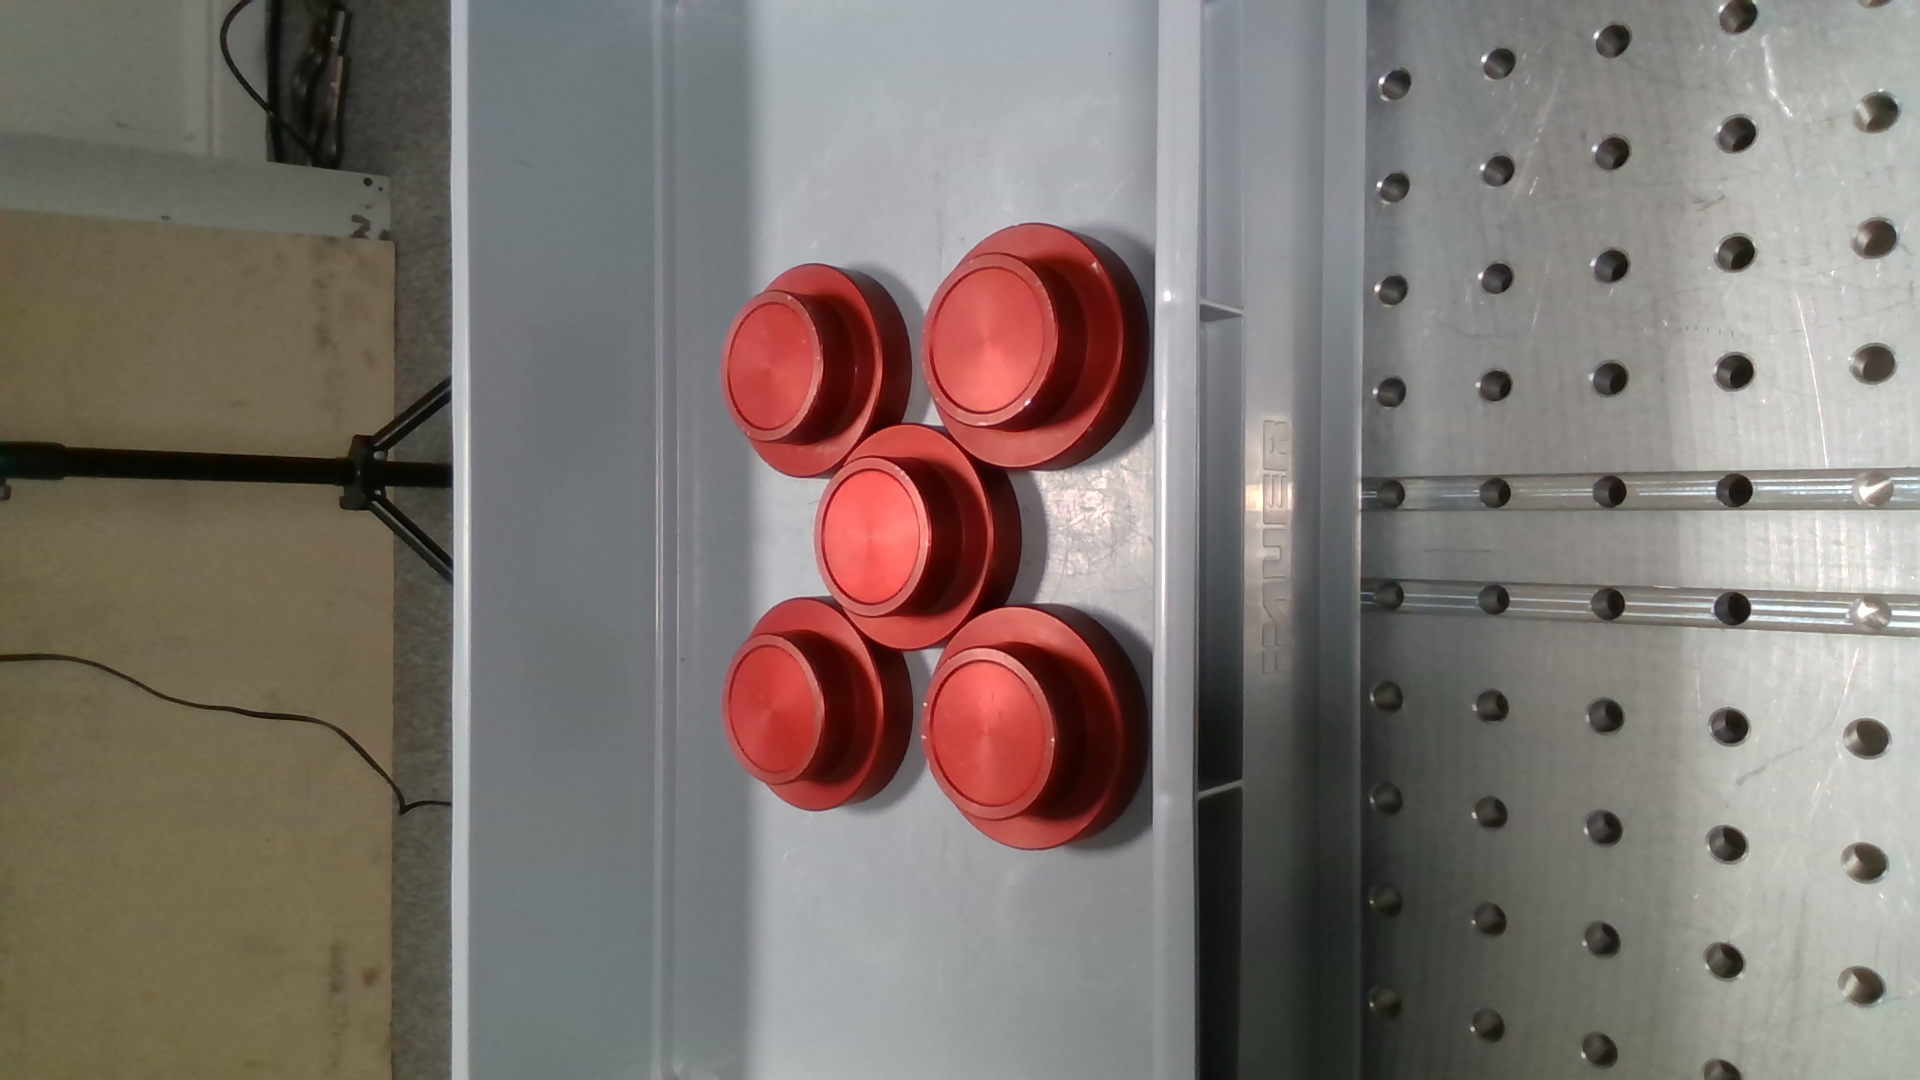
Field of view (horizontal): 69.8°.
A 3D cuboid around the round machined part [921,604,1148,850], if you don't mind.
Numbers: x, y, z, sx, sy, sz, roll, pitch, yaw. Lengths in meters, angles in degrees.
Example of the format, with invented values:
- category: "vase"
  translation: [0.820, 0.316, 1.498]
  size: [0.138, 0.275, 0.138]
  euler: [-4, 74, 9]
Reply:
- category: "round machined part"
  translation: [0.023, 0.075, 0.551]
  size: [0.098, 0.042, 0.098]
  euler: [0, 91, 40]

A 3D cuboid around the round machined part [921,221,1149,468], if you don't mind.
- category: "round machined part"
  translation: [0.023, -0.078, 0.549]
  size: [0.098, 0.042, 0.098]
  euler: [0, 91, 40]

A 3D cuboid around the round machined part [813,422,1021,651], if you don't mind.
- category: "round machined part"
  translation: [-0.025, -0.001, 0.590]
  size: [0.098, 0.042, 0.098]
  euler: [0, 91, 40]

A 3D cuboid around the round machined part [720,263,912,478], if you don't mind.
- category: "round machined part"
  translation: [-0.072, -0.078, 0.630]
  size: [0.098, 0.042, 0.098]
  euler: [0, 91, 40]

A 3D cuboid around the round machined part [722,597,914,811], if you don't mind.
- category: "round machined part"
  translation: [-0.071, 0.075, 0.631]
  size: [0.098, 0.042, 0.098]
  euler: [0, 91, 40]
